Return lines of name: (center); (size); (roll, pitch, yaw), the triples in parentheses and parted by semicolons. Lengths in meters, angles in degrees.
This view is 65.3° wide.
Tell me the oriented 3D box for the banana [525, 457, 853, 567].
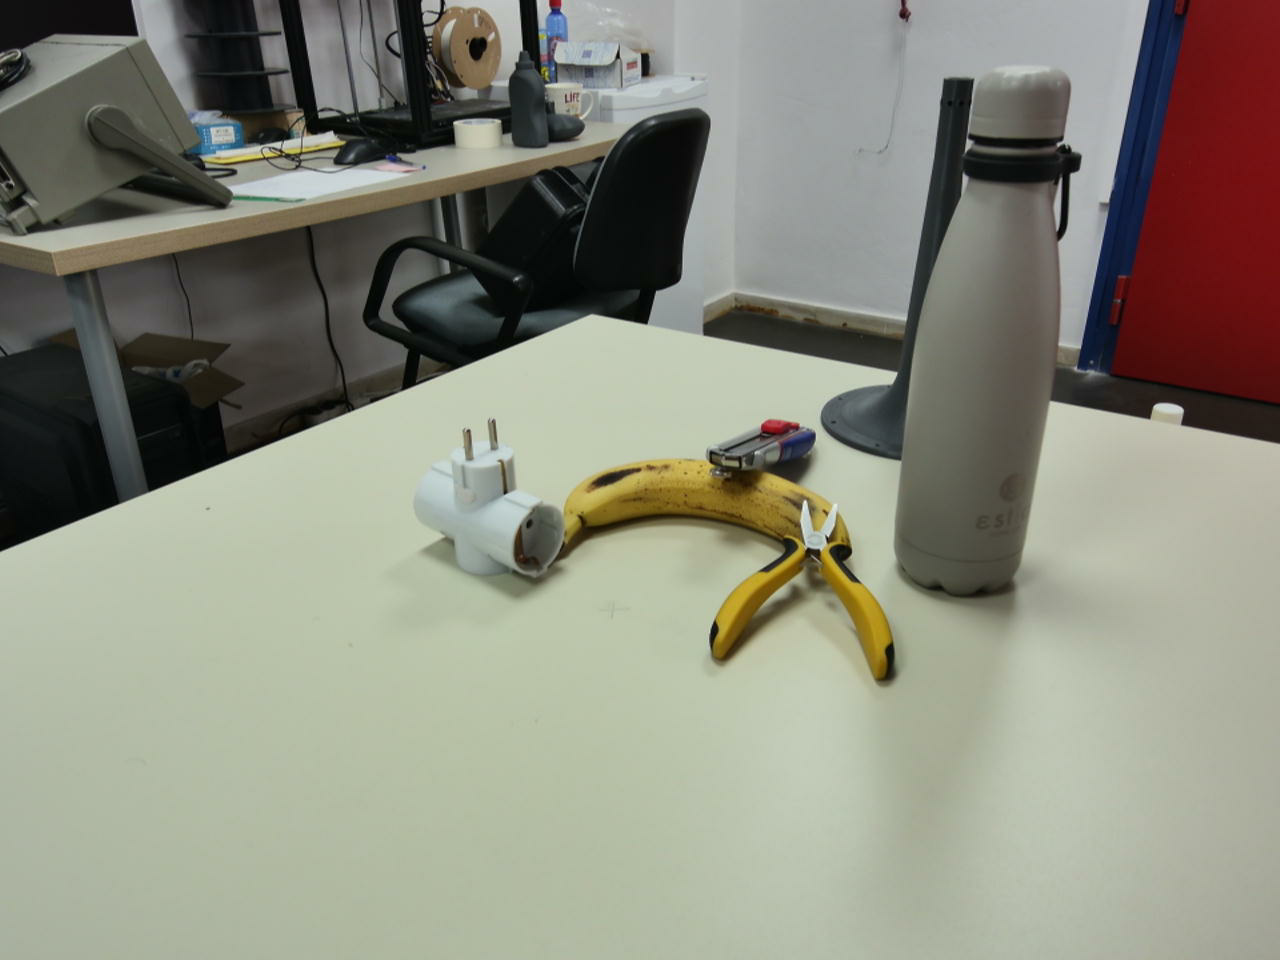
banana: (0.035, 0.018, 0.621); (0.186, 0.038, 0.097); (3, 25, 8)
